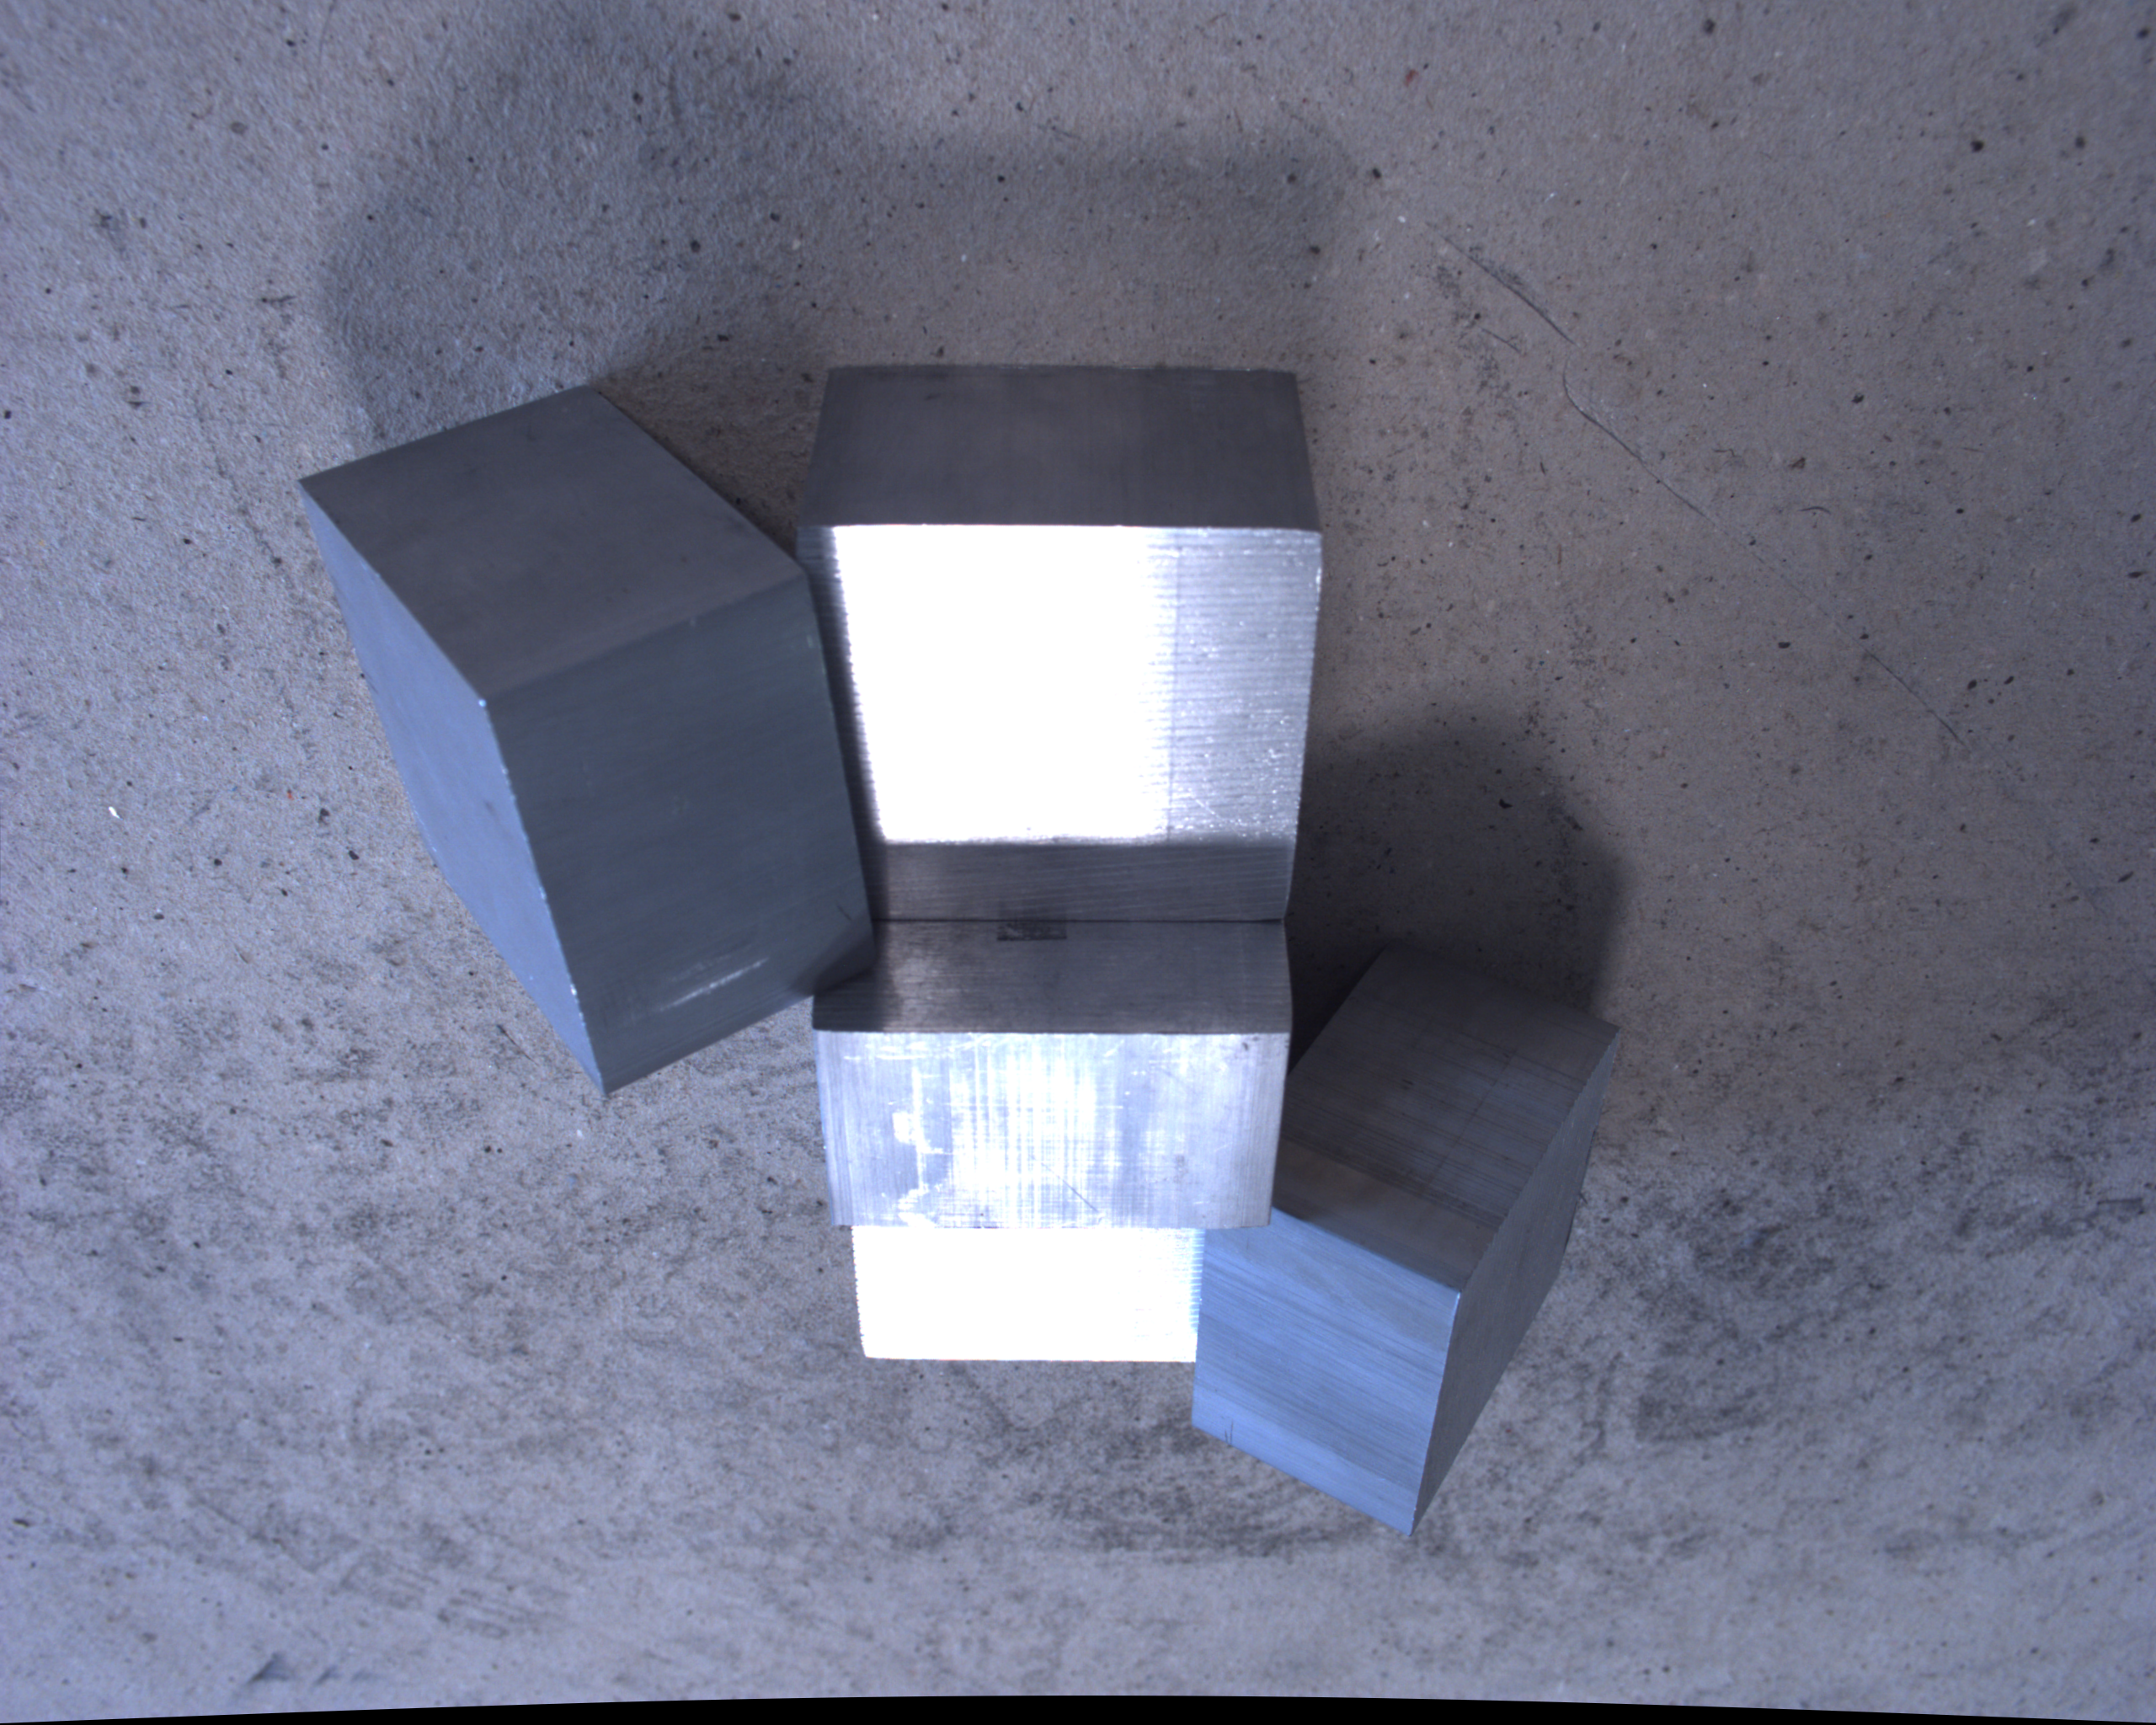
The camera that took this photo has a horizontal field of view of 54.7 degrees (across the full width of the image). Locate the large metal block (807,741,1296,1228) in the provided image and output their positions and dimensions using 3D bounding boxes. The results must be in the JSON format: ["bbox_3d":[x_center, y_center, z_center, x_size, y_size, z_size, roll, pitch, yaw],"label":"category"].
[{"bbox_3d":[-0.004,0.021,0.391,0.081,0.080,0.050,0,130,-1],"label":"large metal block"}]

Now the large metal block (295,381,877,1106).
[{"bbox_3d":[-0.080,-0.022,0.344,0.050,0.080,0.080,-26,135,-23],"label":"large metal block"}]

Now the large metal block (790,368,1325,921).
[{"bbox_3d":[-0.003,-0.037,0.359,0.081,0.050,0.079,1,130,0],"label":"large metal block"}]

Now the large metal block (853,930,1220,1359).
[{"bbox_3d":[-0.005,0.061,0.444,0.081,0.050,0.079,1,131,-1],"label":"large metal block"}]

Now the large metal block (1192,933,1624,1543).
[{"bbox_3d":[0.067,0.076,0.428,0.050,0.080,0.079,22,135,23],"label":"large metal block"}]
